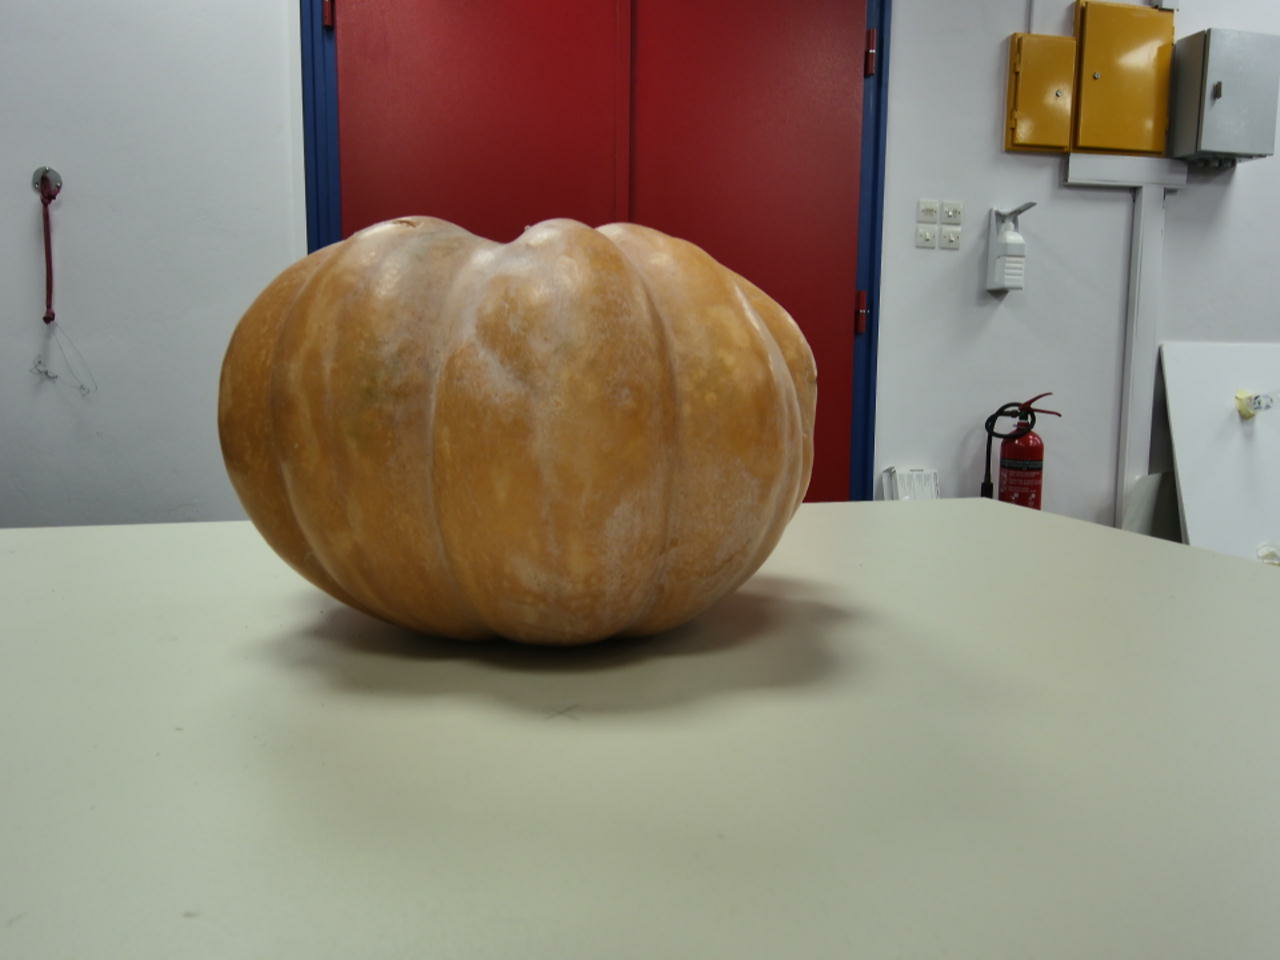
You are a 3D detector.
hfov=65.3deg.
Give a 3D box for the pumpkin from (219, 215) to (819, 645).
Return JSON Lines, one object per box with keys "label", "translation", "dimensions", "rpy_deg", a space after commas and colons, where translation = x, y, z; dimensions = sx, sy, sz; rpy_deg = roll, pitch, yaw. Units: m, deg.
{"label": "pumpkin", "translation": [-0.048, -0.025, 0.456], "dimensions": [0.277, 0.181, 0.277], "rpy_deg": [0, 4, 0]}
